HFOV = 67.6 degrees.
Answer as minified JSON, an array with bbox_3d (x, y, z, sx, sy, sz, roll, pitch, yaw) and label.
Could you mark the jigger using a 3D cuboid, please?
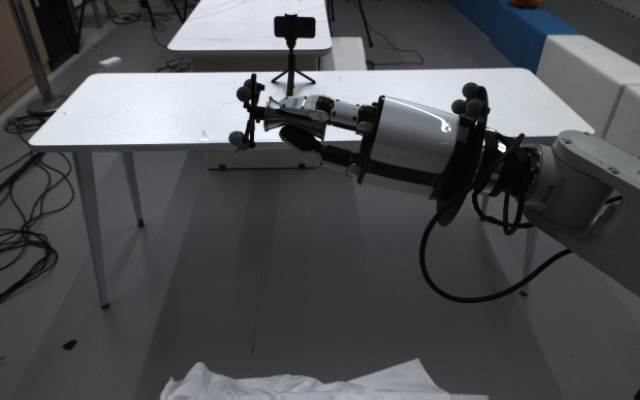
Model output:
[{"bbox_3d":[-0.020,-0.096,0.555,0.071,0.043,0.043,8,35,1],"label":"jigger"}]
